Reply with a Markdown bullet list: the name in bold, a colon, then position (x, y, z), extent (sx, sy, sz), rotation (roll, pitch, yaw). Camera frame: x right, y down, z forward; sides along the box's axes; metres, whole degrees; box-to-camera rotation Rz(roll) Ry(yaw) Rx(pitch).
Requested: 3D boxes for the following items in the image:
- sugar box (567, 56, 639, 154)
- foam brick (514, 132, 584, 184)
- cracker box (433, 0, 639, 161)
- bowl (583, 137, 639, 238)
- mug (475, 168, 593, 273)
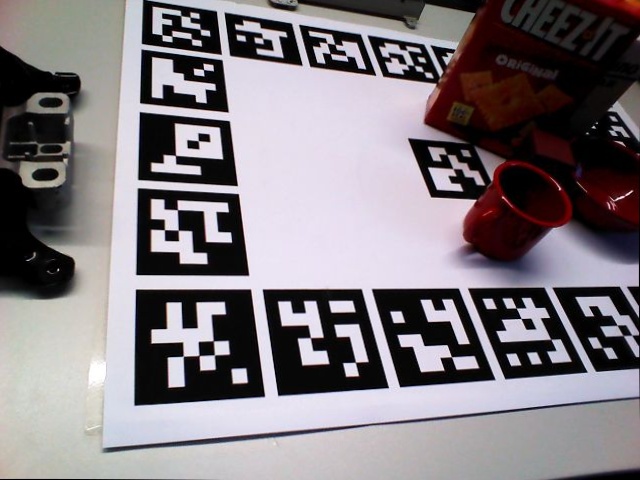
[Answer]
- **sugar box**: position (0.363, -0.205, 0.698), extent (0.093, 0.177, 0.045), rotation (19, 50, -5)
- **foam brick**: position (0.278, -0.083, 0.646), extent (0.053, 0.078, 0.051), rotation (14, 50, -9)
- **cracker box**: position (0.266, -0.207, 0.642), extent (0.164, 0.215, 0.071), rotation (25, 48, -1)
- **bowl**: position (0.400, -0.057, 0.664), extent (0.161, 0.055, 0.160), rotation (9, 52, -13)
- **mug**: position (0.219, -0.017, 0.560), extent (0.117, 0.082, 0.093), rotation (-7, 49, -22)
